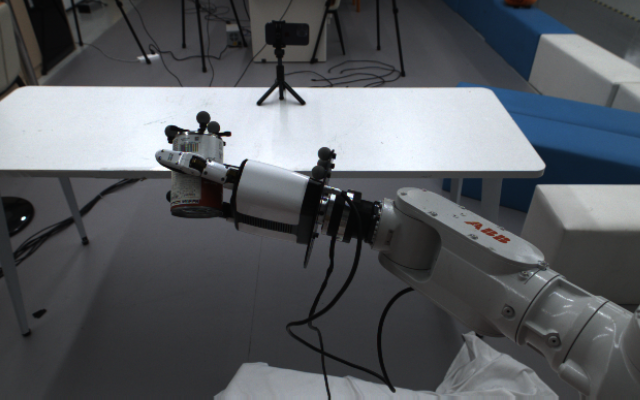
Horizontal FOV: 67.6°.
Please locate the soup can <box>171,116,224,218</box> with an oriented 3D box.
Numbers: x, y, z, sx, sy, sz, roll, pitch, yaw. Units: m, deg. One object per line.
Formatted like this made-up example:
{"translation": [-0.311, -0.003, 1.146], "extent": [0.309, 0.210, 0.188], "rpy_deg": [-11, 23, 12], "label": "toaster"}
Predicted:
{"translation": [-0.160, -0.030, 0.635], "extent": [0.067, 0.067, 0.101], "rpy_deg": [-1, 76, -5], "label": "soup can"}
